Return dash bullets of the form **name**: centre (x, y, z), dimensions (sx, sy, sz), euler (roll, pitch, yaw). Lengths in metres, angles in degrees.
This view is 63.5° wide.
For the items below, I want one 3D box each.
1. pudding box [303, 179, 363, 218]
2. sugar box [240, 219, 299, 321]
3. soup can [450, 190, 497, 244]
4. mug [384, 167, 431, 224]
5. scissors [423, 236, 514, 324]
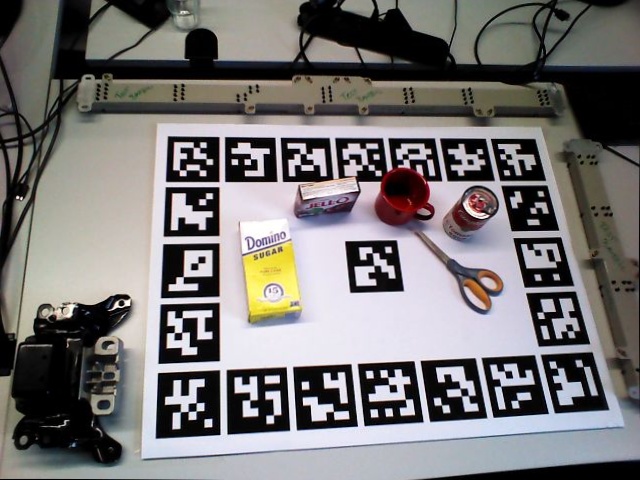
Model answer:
- **pudding box**: centre (0.028, -0.078, 0.944), dimensions (0.114, 0.090, 0.038), euler (-9, 78, -11)
- **sugar box**: centre (-0.089, 0.051, 0.913), dimensions (0.093, 0.045, 0.175), euler (-4, 72, -7)
- **soup can**: centre (0.292, -0.040, 0.969), dimensions (0.068, 0.102, 0.067), euler (2, 68, -6)
- **mug**: centre (0.175, -0.076, 0.970), dimensions (0.093, 0.082, 0.117), euler (-36, 77, -16)
- **scissors**: centre (0.269, 0.061, 0.965), dimensions (0.087, 0.016, 0.203), euler (-44, 81, -9)
